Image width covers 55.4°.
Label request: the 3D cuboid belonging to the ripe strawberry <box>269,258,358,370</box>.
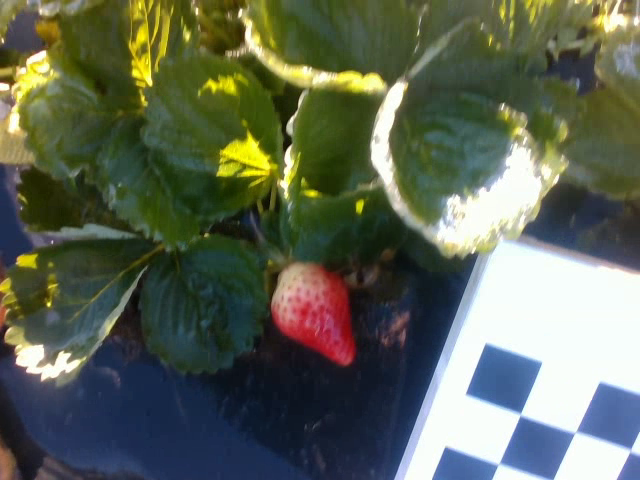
[{"bbox_3d":[-0.003,0.042,0.306,0.040,0.065,0.040,-32,6,10],"label":"ripe strawberry"}]
